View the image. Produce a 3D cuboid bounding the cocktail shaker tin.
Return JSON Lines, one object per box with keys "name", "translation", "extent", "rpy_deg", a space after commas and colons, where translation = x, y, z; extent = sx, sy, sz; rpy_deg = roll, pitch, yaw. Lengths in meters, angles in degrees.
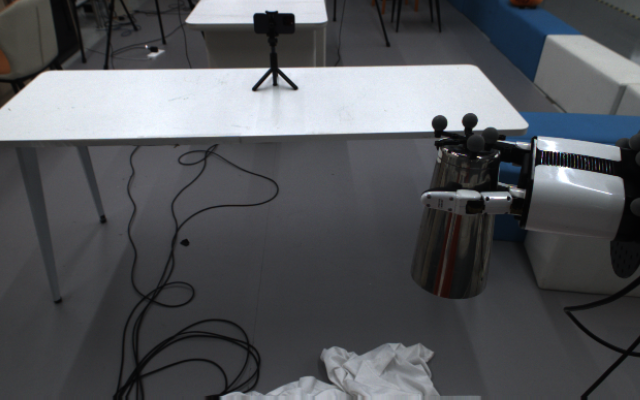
{"name": "cocktail shaker tin", "translation": [0.165, 0.015, 0.569], "extent": [0.093, 0.170, 0.093], "rpy_deg": [1, 27, -1]}
